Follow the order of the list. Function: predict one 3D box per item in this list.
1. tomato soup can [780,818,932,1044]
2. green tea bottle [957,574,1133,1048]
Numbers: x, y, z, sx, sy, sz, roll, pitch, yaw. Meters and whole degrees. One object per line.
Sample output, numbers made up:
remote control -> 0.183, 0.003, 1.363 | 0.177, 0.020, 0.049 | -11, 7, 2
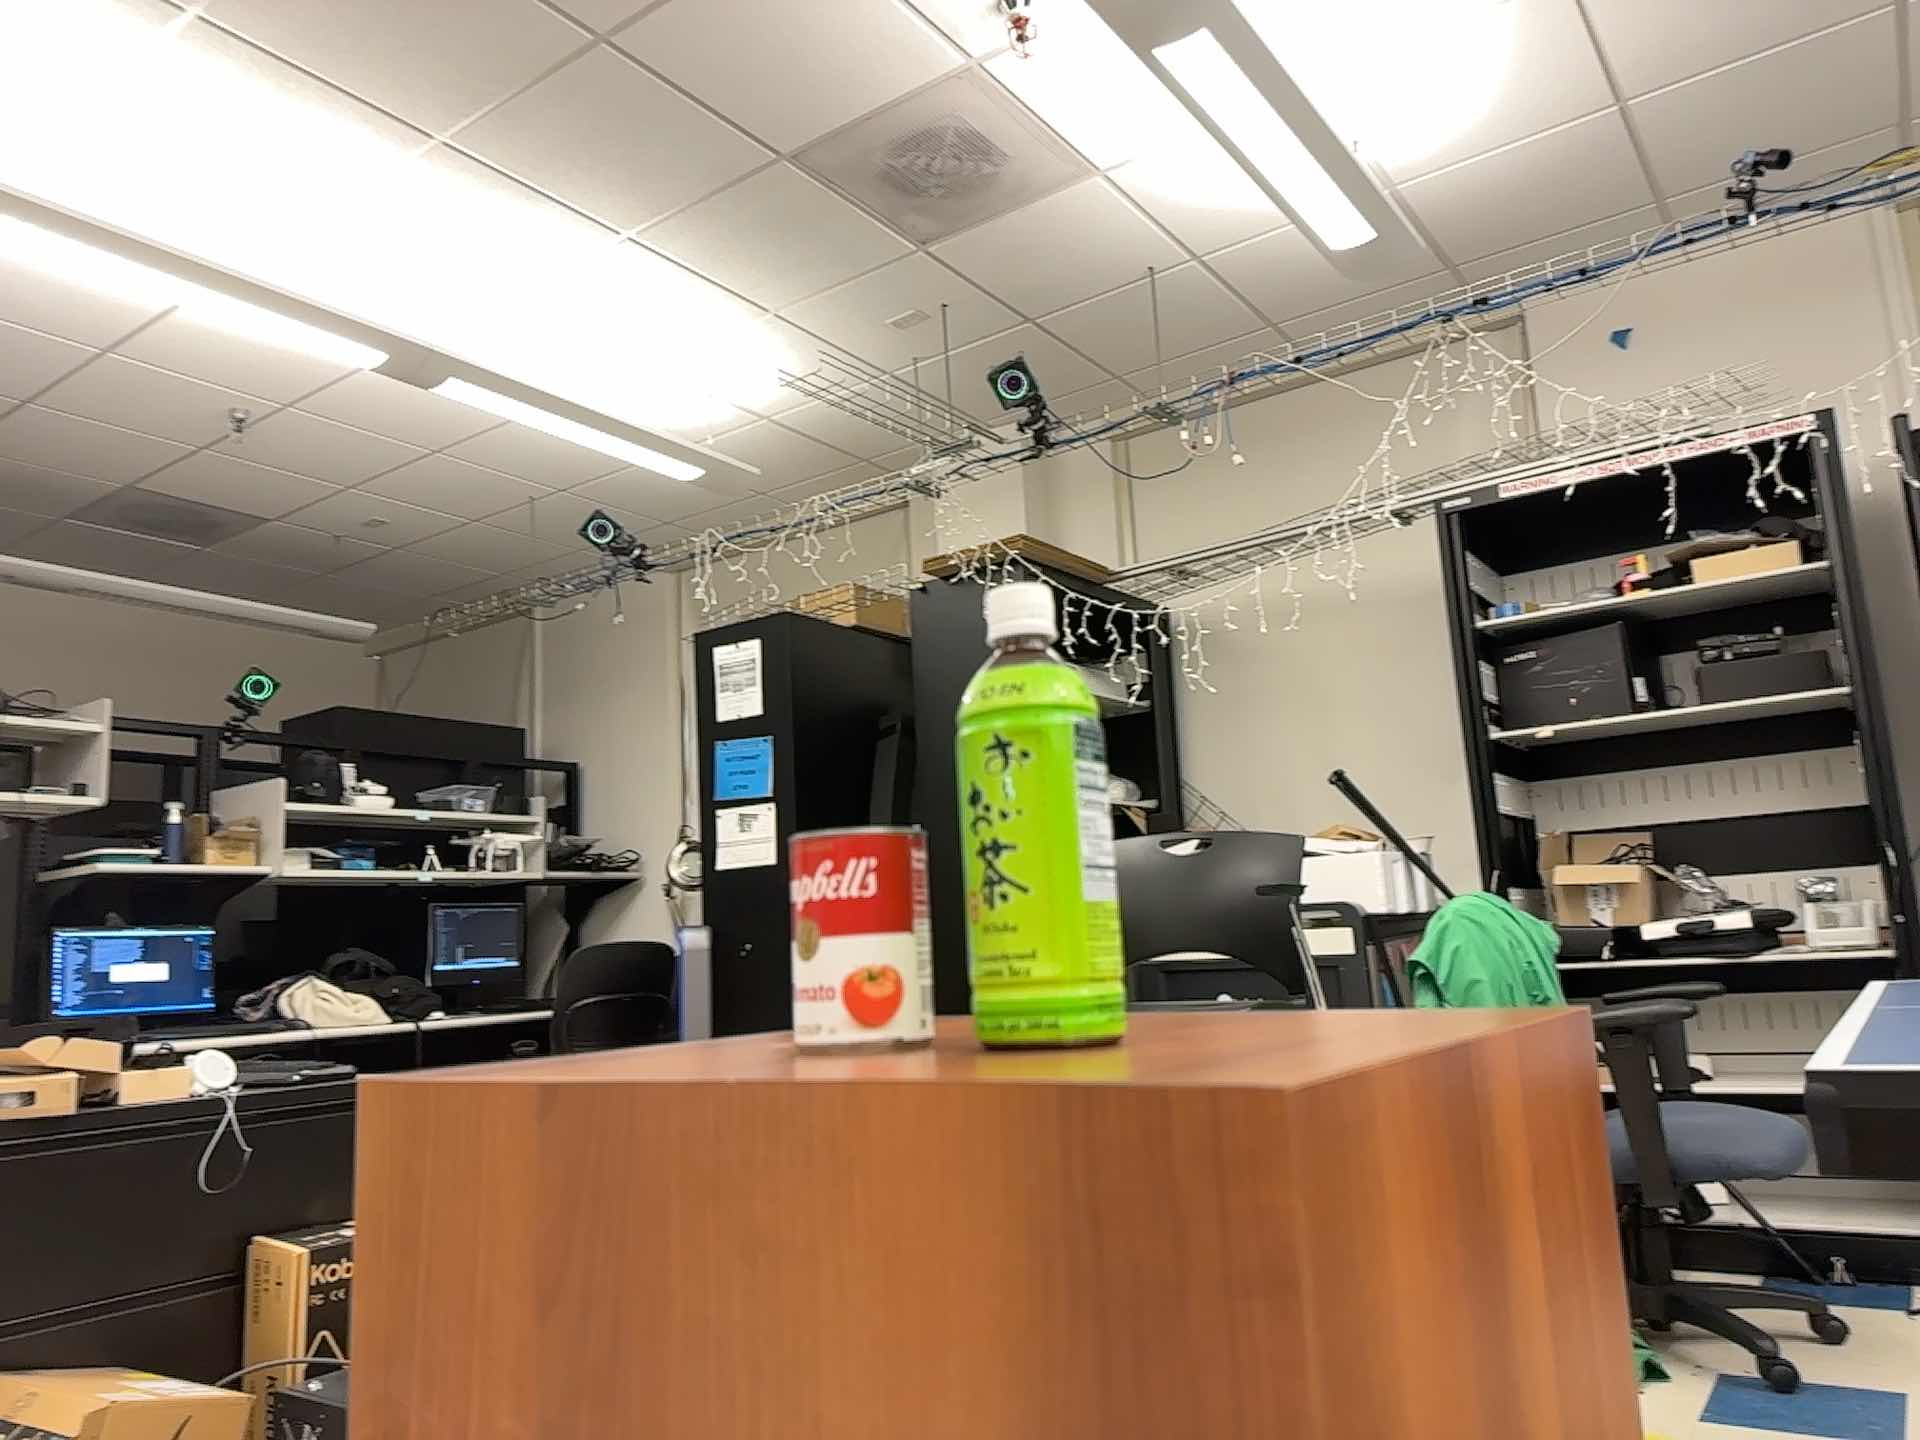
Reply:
tomato soup can -> -0.050, 0.102, 0.643 | 0.067, 0.102, 0.067 | -4, -11, -1
green tea bottle -> 0.034, 0.039, 0.609 | 0.073, 0.212, 0.073 | -6, -12, -1
